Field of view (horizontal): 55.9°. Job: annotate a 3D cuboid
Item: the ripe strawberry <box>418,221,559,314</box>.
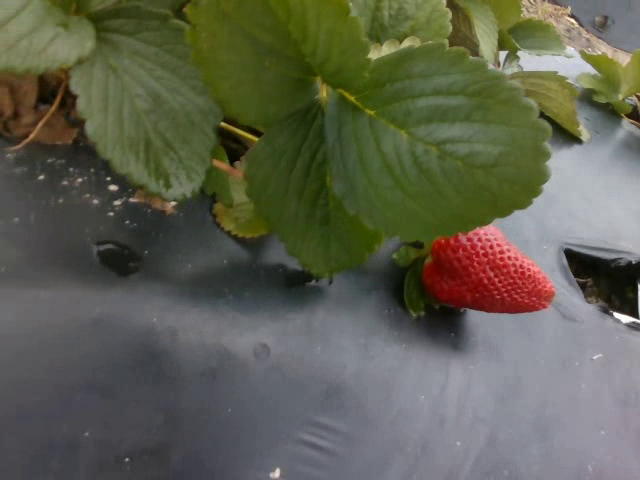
[{"bbox_3d":[0.075,0.016,0.266,0.064,0.046,0.048,28,6,20],"label":"ripe strawberry"}]
